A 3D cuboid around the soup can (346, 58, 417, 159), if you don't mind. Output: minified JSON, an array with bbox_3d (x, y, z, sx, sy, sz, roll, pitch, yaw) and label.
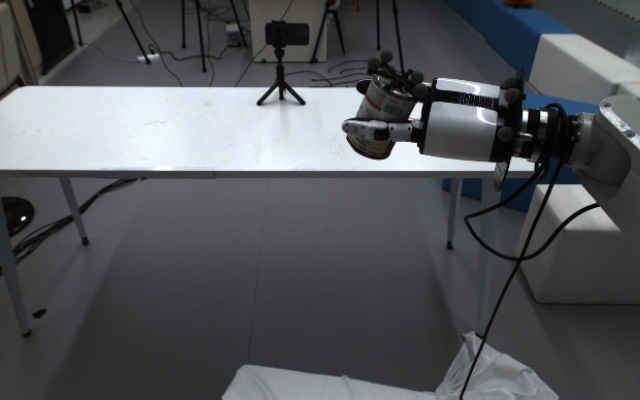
[{"bbox_3d":[0.085,-0.115,0.659,0.067,0.101,0.067,14,39,-12],"label":"soup can"}]
